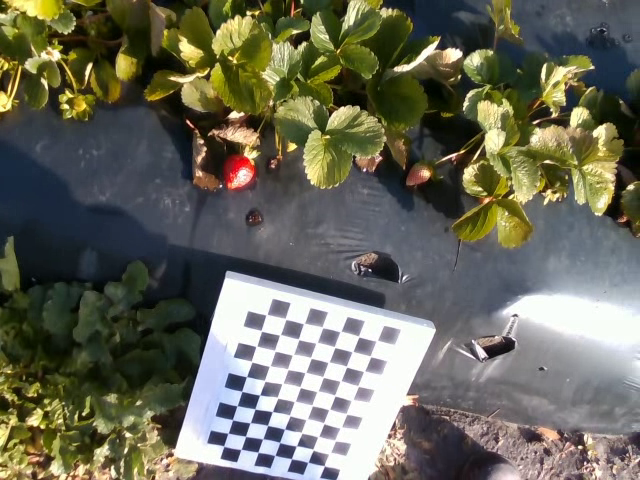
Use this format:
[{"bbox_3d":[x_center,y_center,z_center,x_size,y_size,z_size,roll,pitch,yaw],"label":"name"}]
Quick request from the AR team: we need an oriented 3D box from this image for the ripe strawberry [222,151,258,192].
[{"bbox_3d":[-0.090,-0.063,0.747,0.046,0.054,0.037,35,-27,-19],"label":"ripe strawberry"}]
